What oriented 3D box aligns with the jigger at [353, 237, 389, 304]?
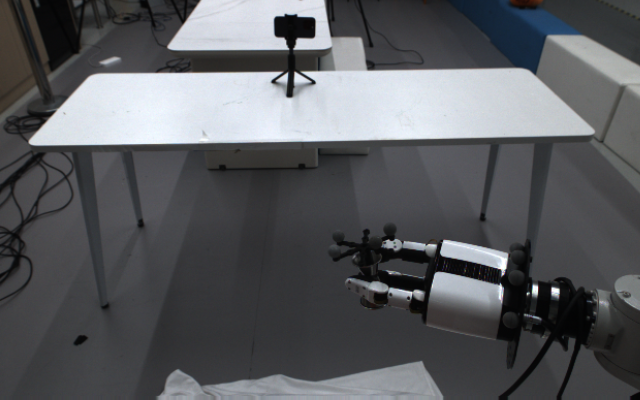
[{"bbox_3d":[0.069,0.105,0.650,0.043,0.071,0.043,-11,24,5],"label":"jigger"}]
